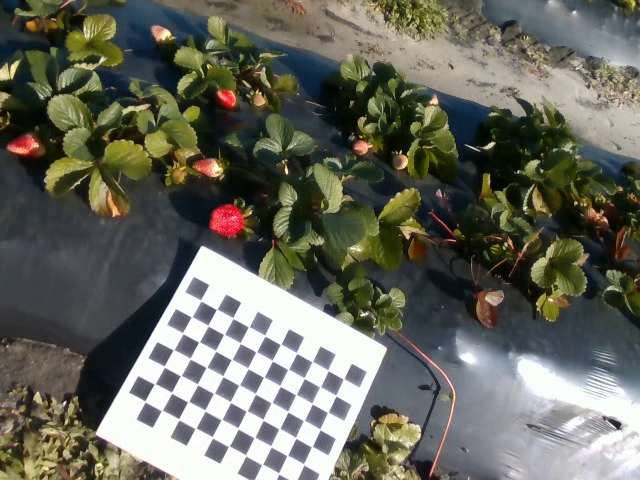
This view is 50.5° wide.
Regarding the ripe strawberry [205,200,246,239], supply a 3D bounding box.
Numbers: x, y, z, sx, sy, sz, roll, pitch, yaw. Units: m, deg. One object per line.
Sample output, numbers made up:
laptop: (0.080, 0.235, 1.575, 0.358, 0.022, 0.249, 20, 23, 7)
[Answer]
ripe strawberry: (-0.128, -0.026, 0.898, 0.058, 0.066, 0.061, -20, -5, 13)
